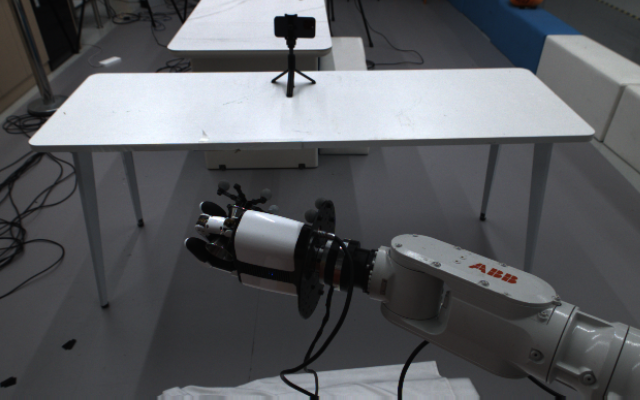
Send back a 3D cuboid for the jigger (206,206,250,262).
[{"bbox_3d":[-0.122,0.046,0.677,0.043,0.043,0.071,13,58,16],"label":"jigger"}]
